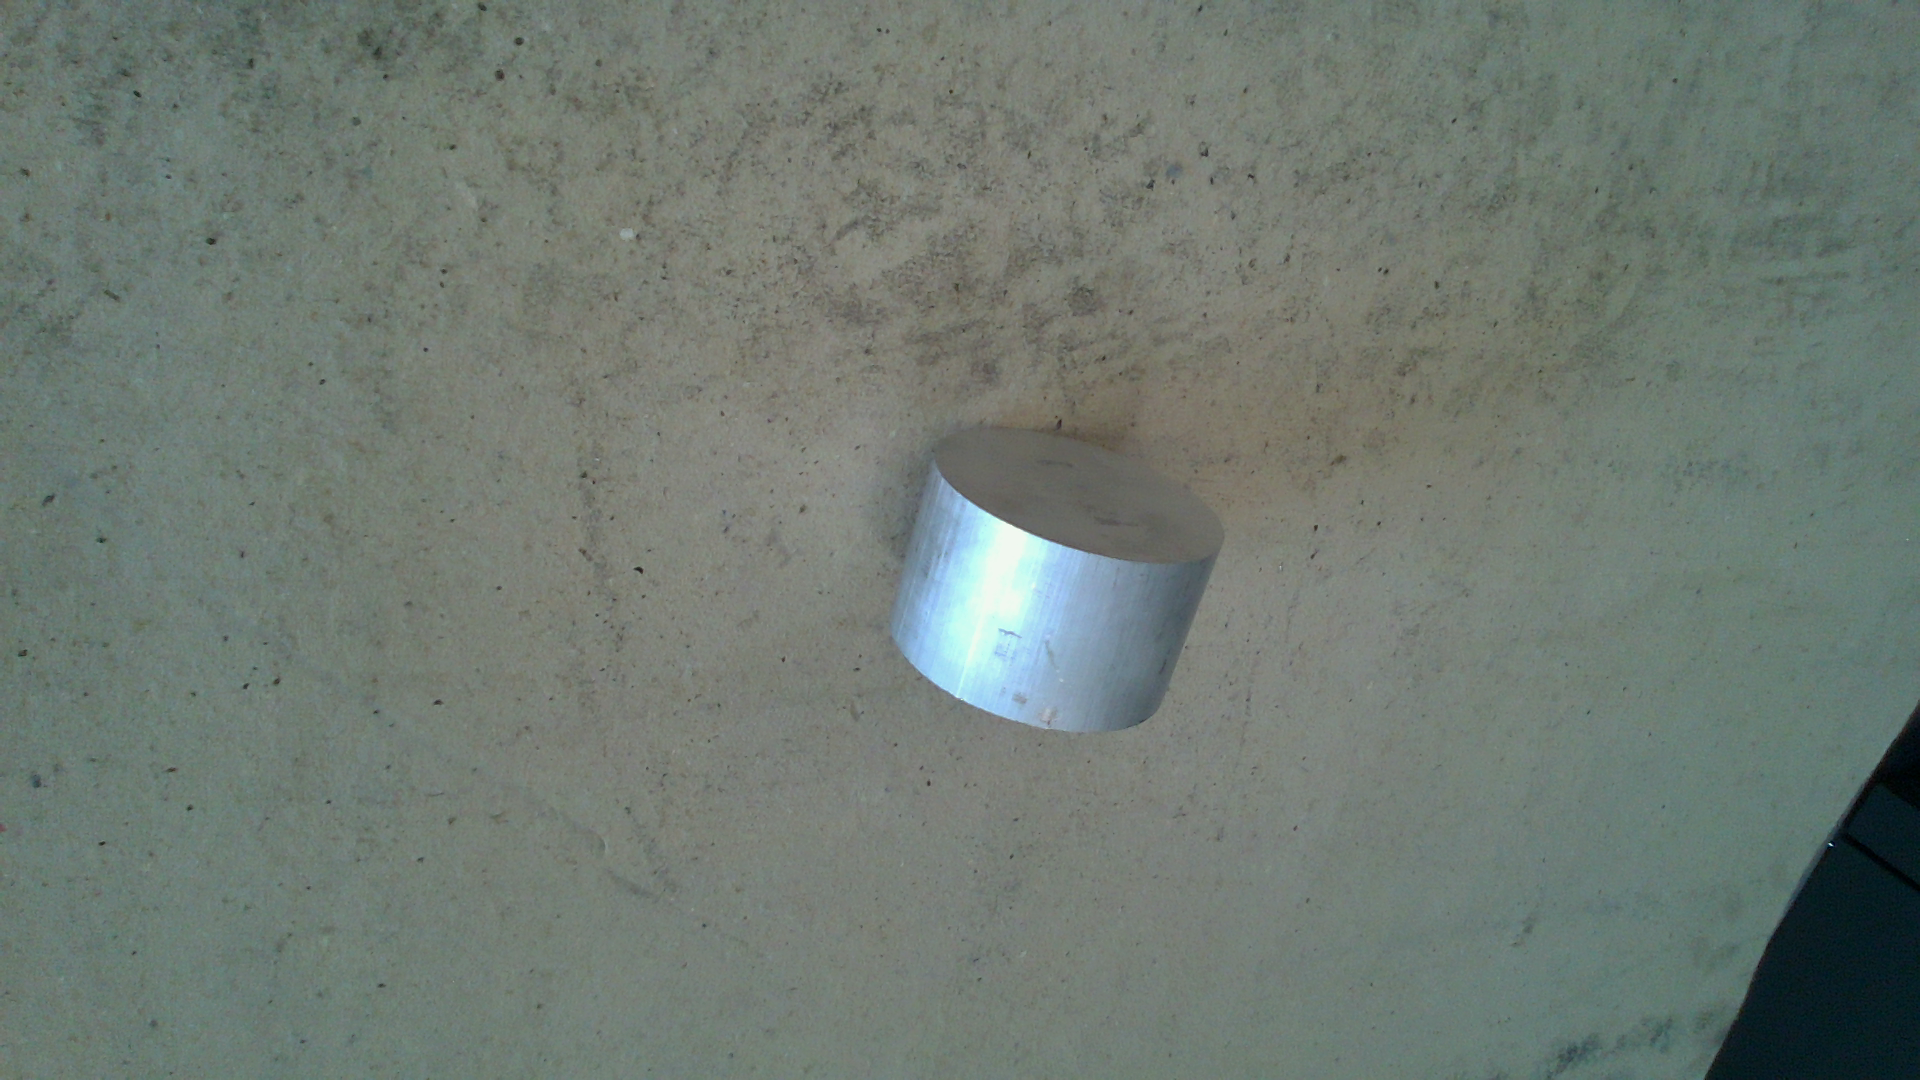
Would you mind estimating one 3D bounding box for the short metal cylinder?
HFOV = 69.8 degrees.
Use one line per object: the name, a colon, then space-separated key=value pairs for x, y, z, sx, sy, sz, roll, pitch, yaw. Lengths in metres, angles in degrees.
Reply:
short metal cylinder: x=0.025 y=0.009 z=0.373 sx=0.080 sy=0.080 sz=0.050 roll=2 pitch=118 yaw=-29
